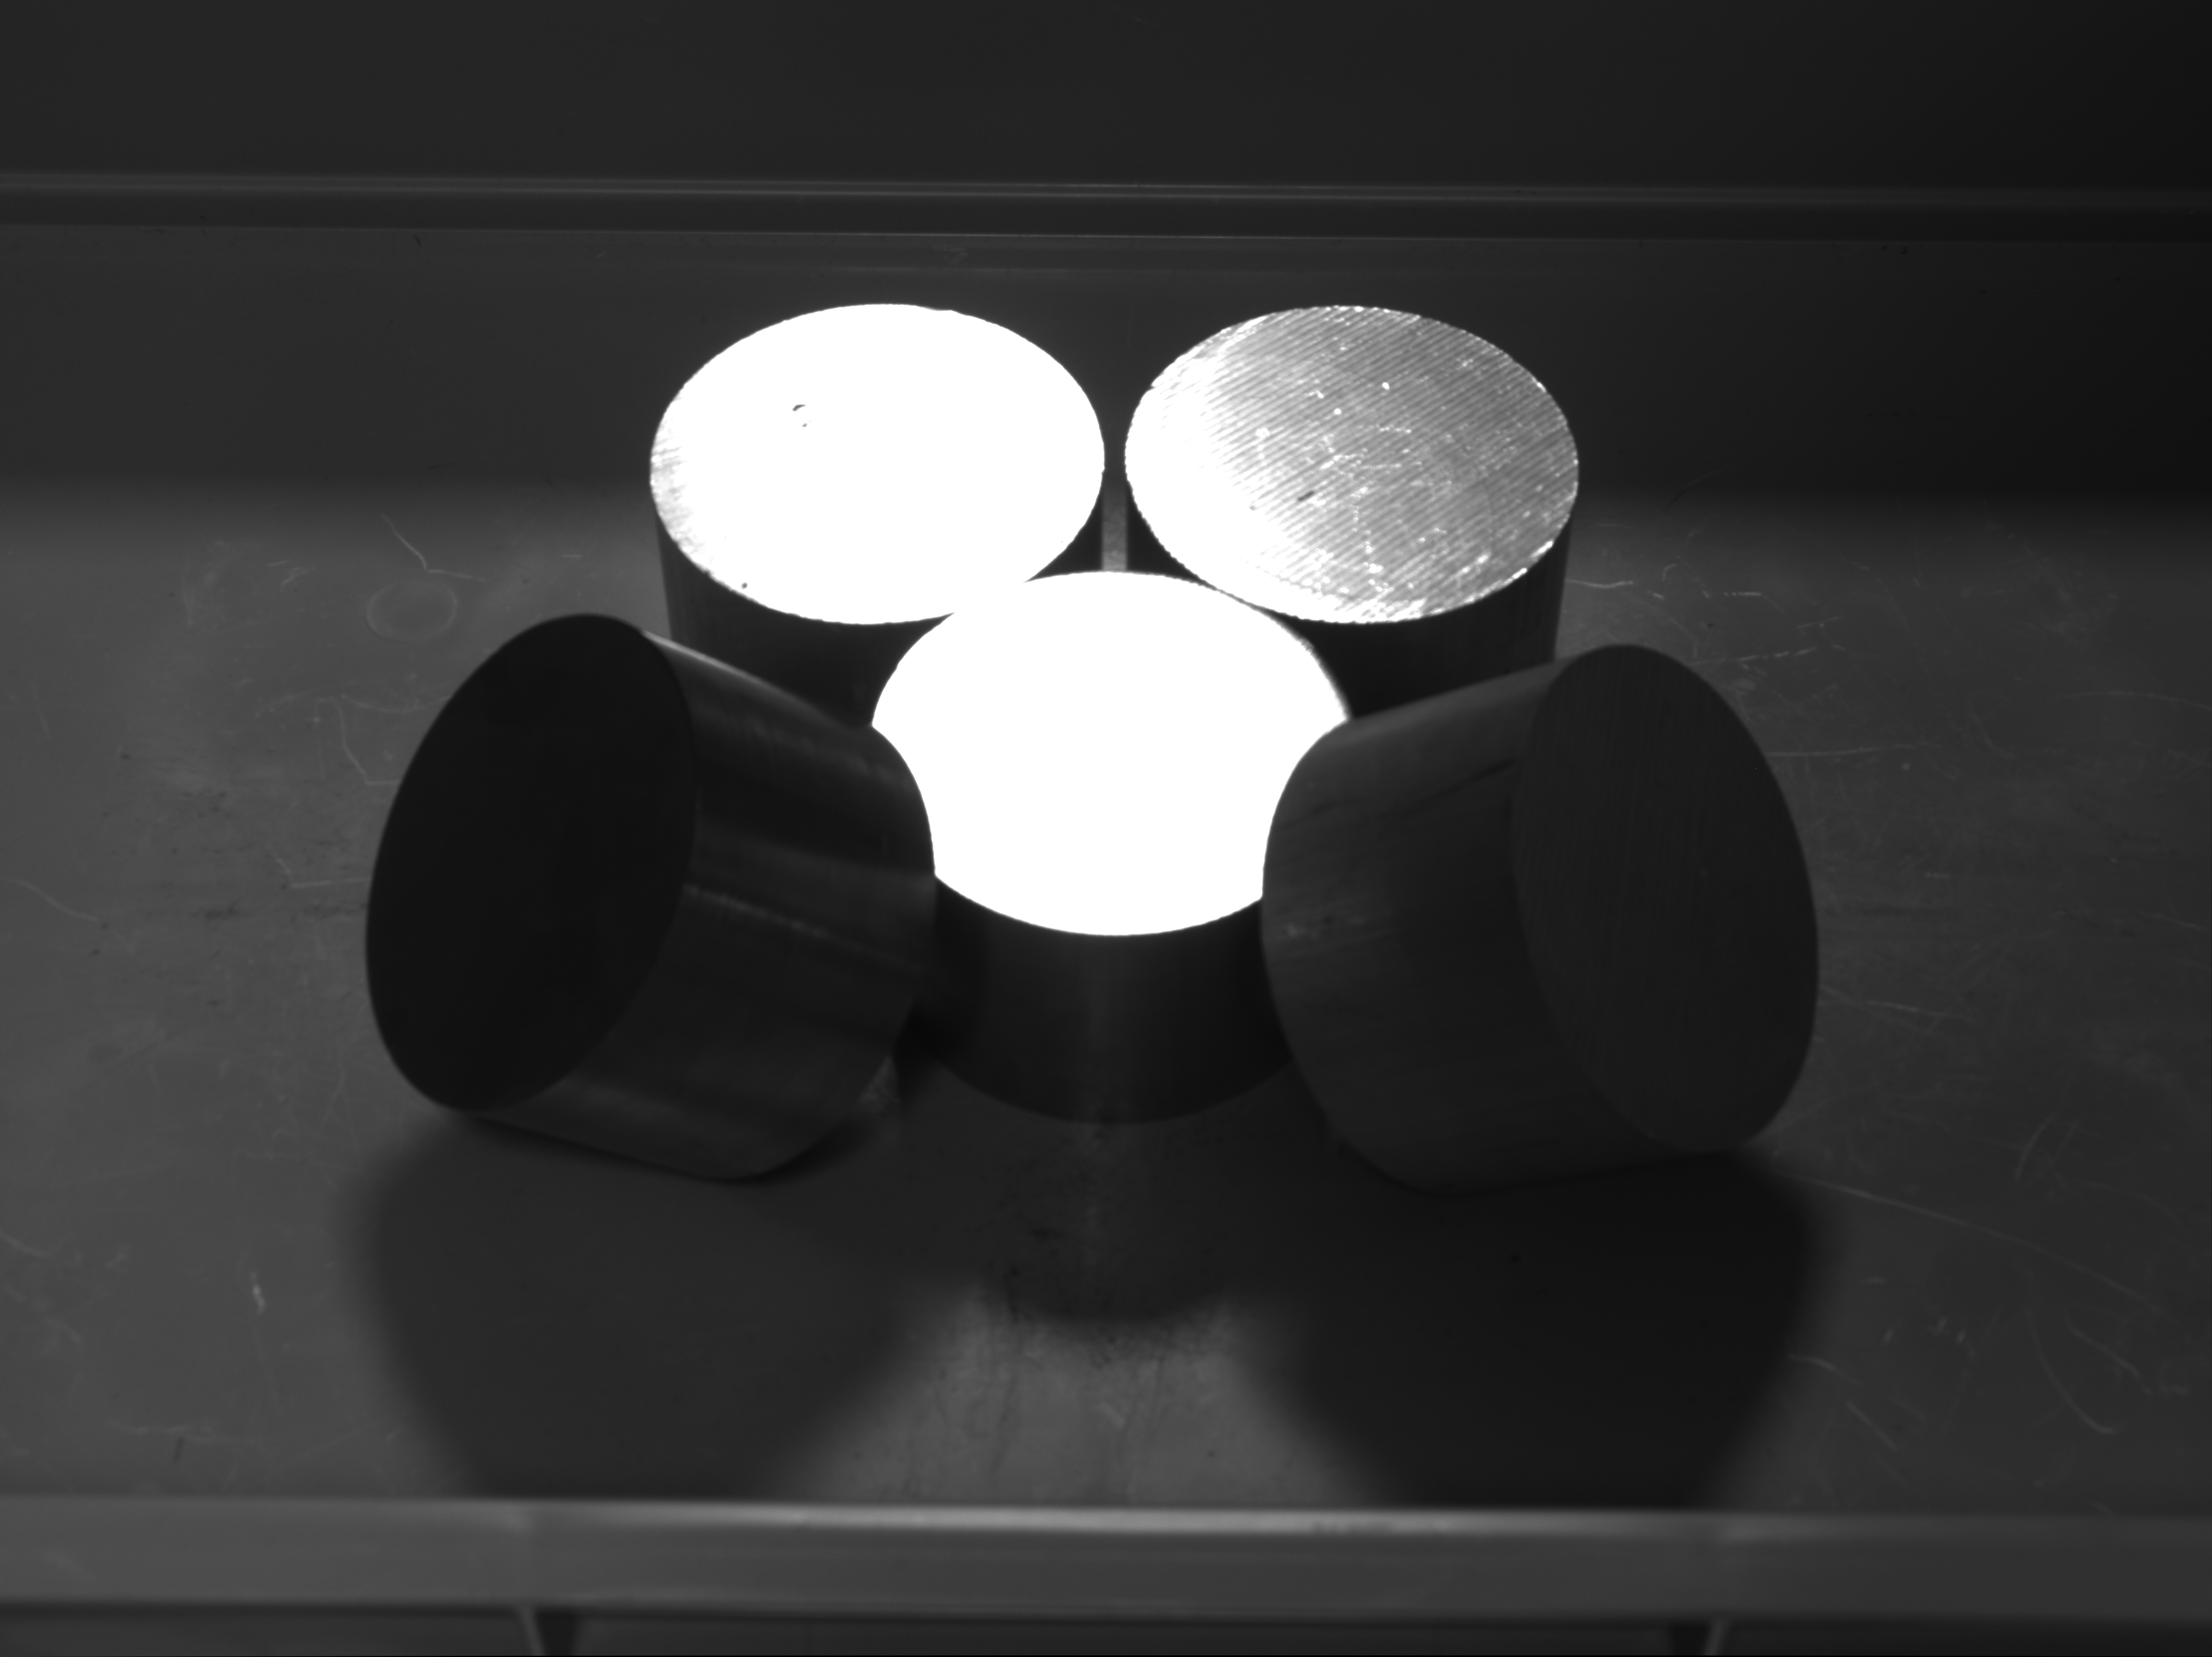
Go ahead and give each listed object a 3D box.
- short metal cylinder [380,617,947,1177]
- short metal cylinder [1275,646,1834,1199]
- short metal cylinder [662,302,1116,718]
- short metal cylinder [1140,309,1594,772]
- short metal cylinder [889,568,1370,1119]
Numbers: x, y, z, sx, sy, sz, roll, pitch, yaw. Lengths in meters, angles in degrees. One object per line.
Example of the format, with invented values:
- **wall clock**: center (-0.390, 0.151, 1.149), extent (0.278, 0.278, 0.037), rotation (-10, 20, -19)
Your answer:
- **short metal cylinder**: center (-0.072, 0.012, 0.587), extent (0.050, 0.080, 0.080), rotation (21, 33, -43)
- **short metal cylinder**: center (0.072, 0.016, 0.583), extent (0.050, 0.080, 0.080), rotation (-16, 36, 41)
- **short metal cylinder**: center (-0.038, -0.050, 0.665), extent (0.080, 0.050, 0.080), rotation (0, 50, 0)
- **short metal cylinder**: center (0.046, -0.049, 0.666), extent (0.080, 0.050, 0.080), rotation (0, 50, 0)
- **short metal cylinder**: center (0.004, 0.002, 0.620), extent (0.080, 0.050, 0.080), rotation (0, 50, 0)
